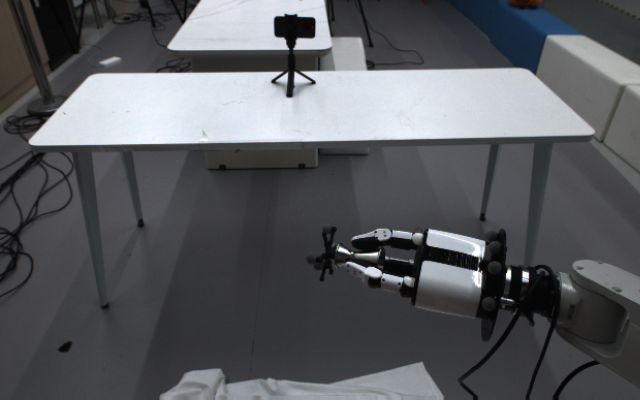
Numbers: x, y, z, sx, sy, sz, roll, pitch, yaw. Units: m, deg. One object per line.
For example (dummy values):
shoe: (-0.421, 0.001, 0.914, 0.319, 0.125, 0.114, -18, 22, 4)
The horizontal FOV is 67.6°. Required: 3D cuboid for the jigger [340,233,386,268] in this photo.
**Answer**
jigger: (0.068, 0.081, 0.730, 0.071, 0.043, 0.043, 5, 34, 21)
